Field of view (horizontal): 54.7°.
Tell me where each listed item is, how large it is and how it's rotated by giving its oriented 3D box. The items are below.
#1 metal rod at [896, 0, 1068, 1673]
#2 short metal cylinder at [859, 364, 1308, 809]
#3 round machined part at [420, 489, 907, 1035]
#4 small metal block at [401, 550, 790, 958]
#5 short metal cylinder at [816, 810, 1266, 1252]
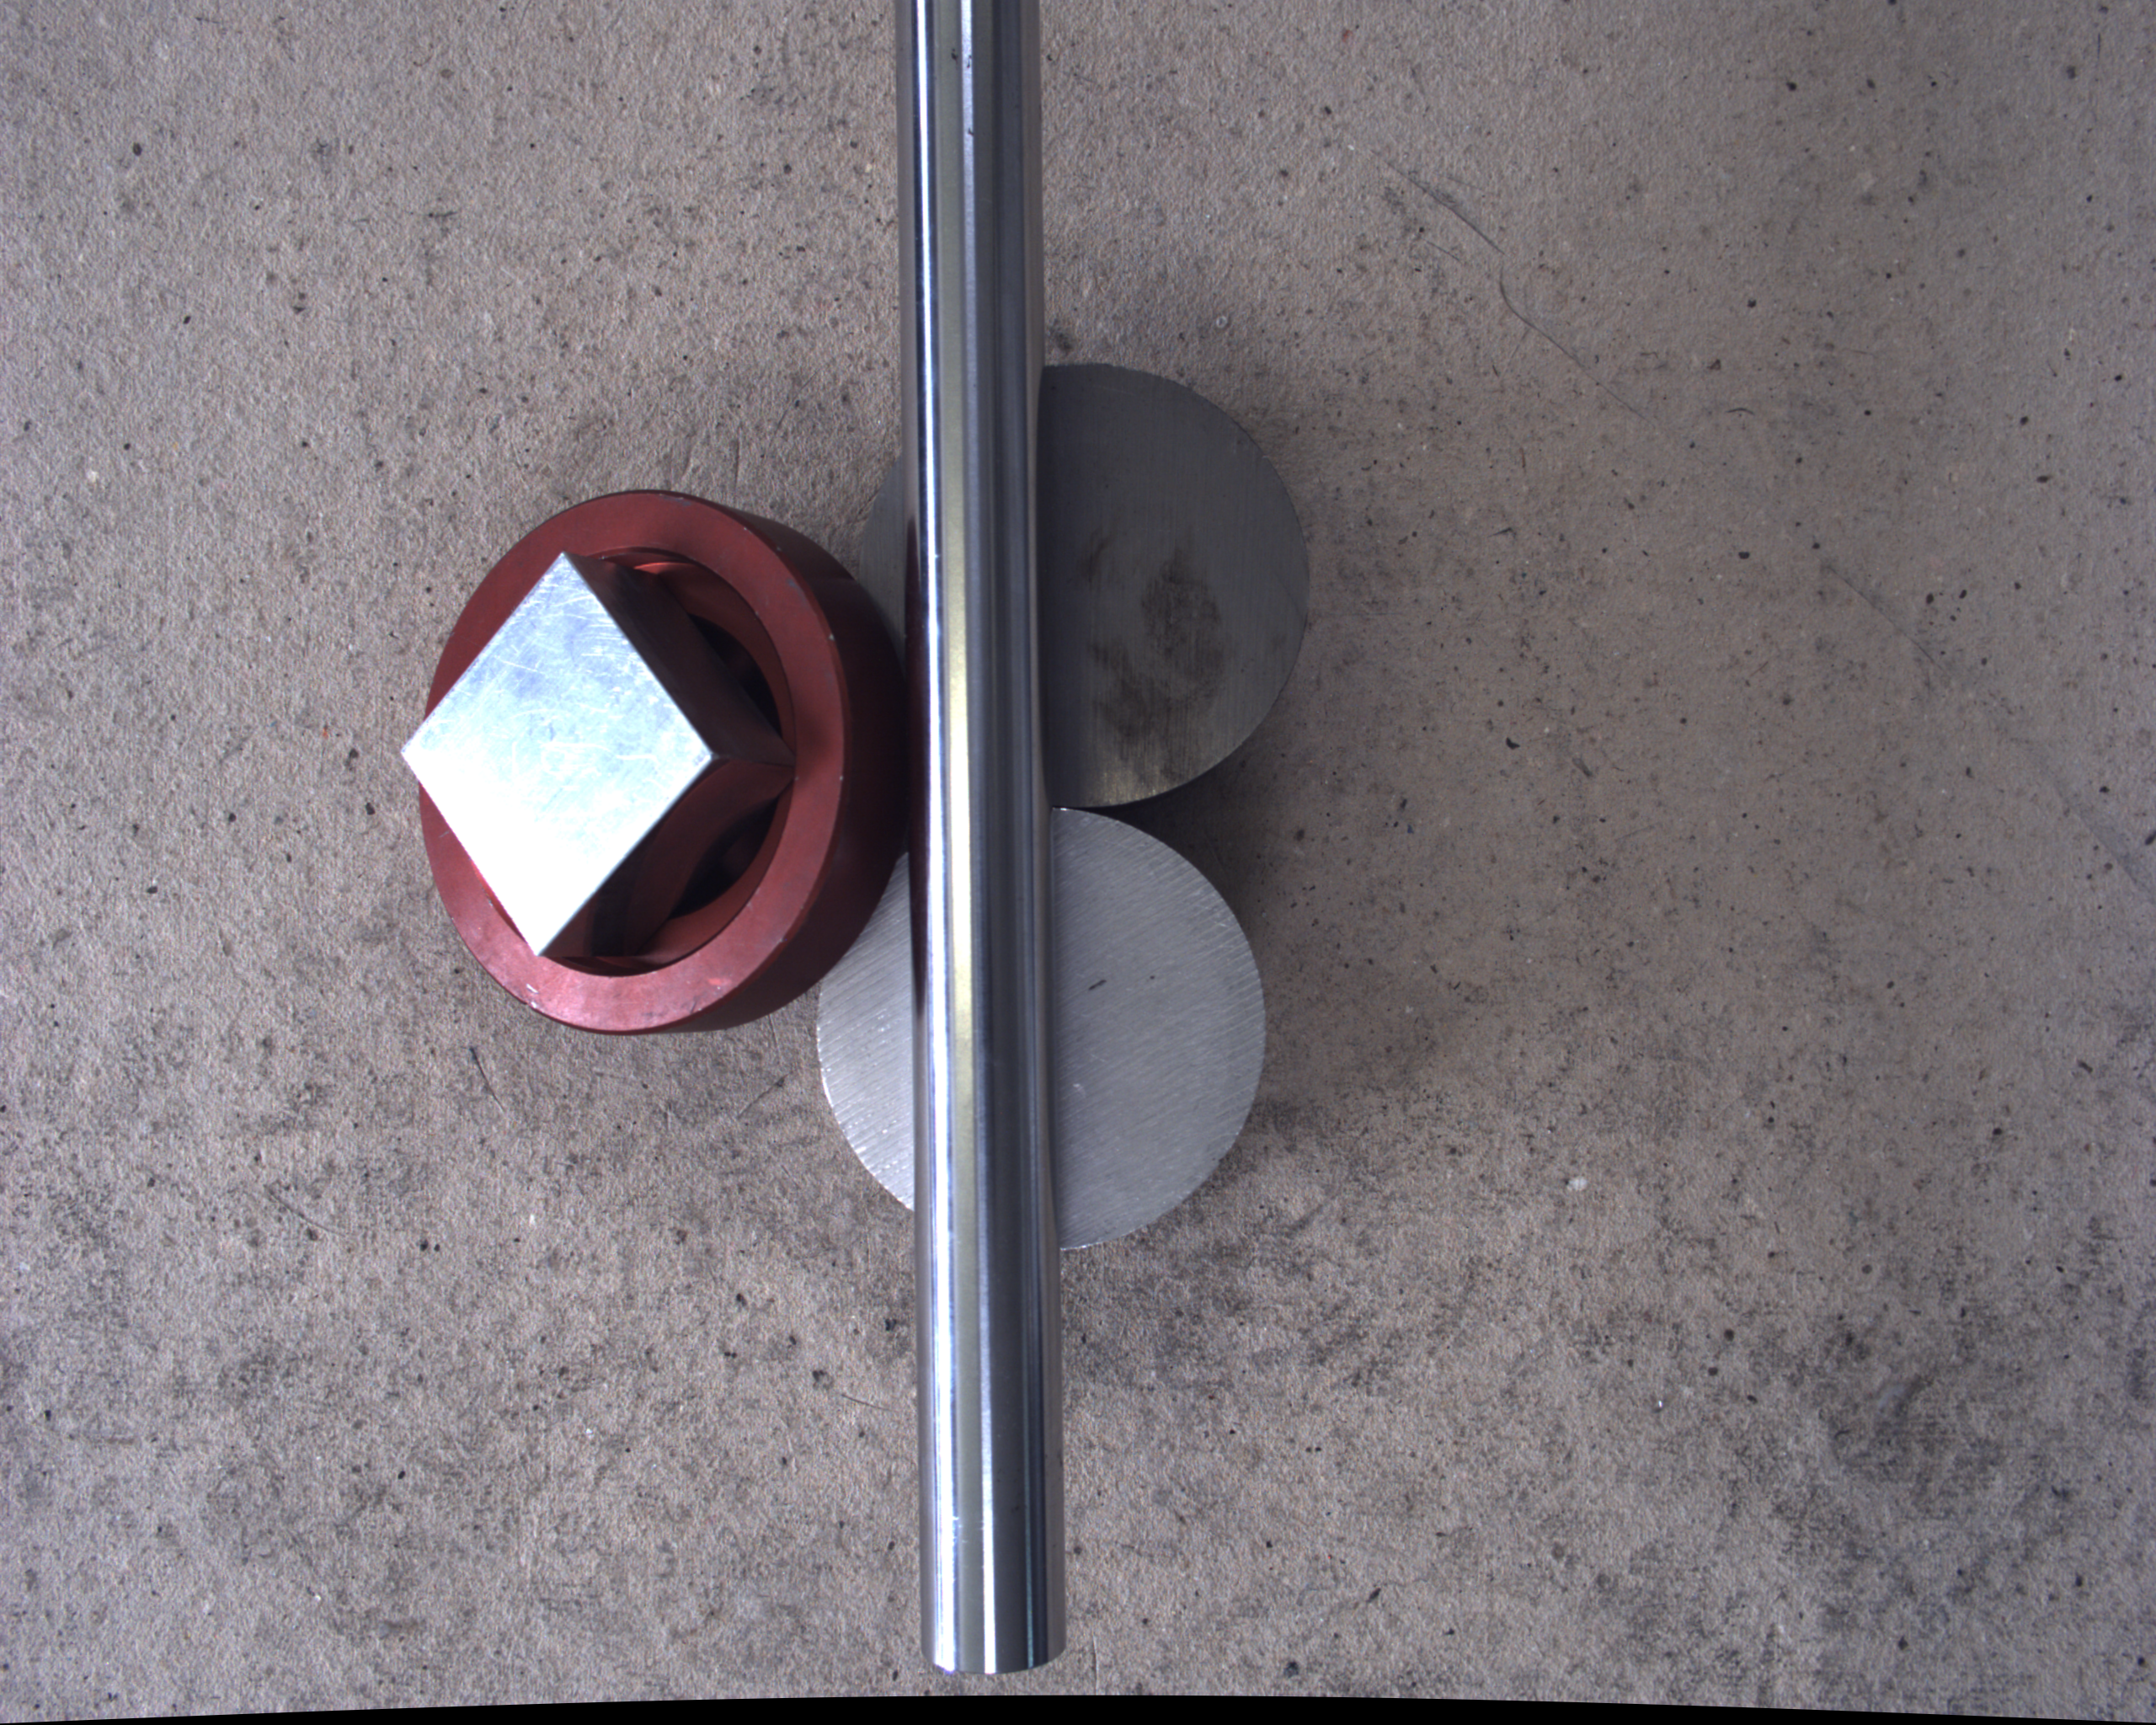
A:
[{"bbox_3d":[-0.017,-0.014,0.361,0.025,0.025,0.298,-1,90,0],"label":"metal rod"},{"bbox_3d":[0.001,-0.050,0.399,0.081,0.050,0.079,0,90,0],"label":"short metal cylinder"},{"bbox_3d":[-0.072,-0.017,0.389,0.098,0.042,0.097,-1,87,29],"label":"round machined part"},{"bbox_3d":[-0.085,-0.018,0.370,0.050,0.025,0.050,-46,68,19],"label":"small metal block"},{"bbox_3d":[-0.007,0.030,0.398,0.081,0.050,0.080,0,89,0],"label":"short metal cylinder"}]
